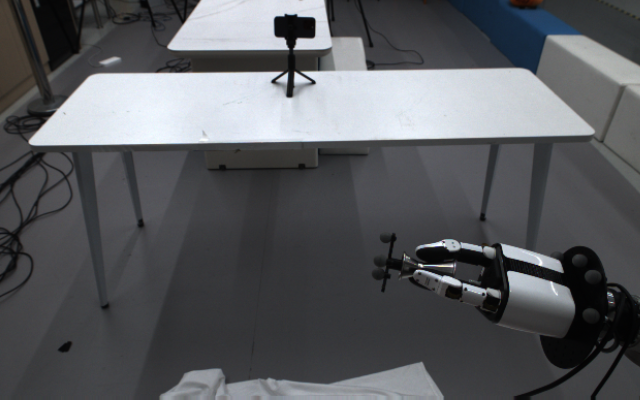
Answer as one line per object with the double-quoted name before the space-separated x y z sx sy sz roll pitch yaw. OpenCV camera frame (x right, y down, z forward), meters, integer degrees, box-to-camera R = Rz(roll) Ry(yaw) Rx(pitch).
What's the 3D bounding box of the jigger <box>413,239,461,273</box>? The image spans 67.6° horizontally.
"jigger" 0.149 0.087 0.647 0.071 0.043 0.043 9 35 9
